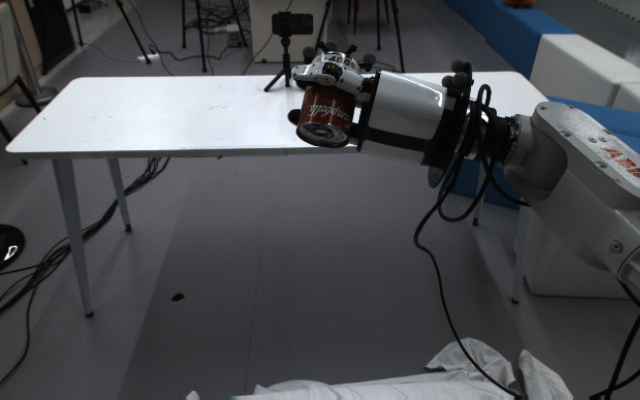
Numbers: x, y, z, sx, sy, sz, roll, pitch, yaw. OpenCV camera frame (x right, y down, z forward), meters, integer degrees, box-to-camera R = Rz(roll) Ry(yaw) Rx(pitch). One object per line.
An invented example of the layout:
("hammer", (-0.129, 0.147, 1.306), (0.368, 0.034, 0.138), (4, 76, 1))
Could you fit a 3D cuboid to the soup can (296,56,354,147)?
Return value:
("soup can", (0.013, -0.125, 0.608), (0.067, 0.067, 0.101), (8, 72, 9))
